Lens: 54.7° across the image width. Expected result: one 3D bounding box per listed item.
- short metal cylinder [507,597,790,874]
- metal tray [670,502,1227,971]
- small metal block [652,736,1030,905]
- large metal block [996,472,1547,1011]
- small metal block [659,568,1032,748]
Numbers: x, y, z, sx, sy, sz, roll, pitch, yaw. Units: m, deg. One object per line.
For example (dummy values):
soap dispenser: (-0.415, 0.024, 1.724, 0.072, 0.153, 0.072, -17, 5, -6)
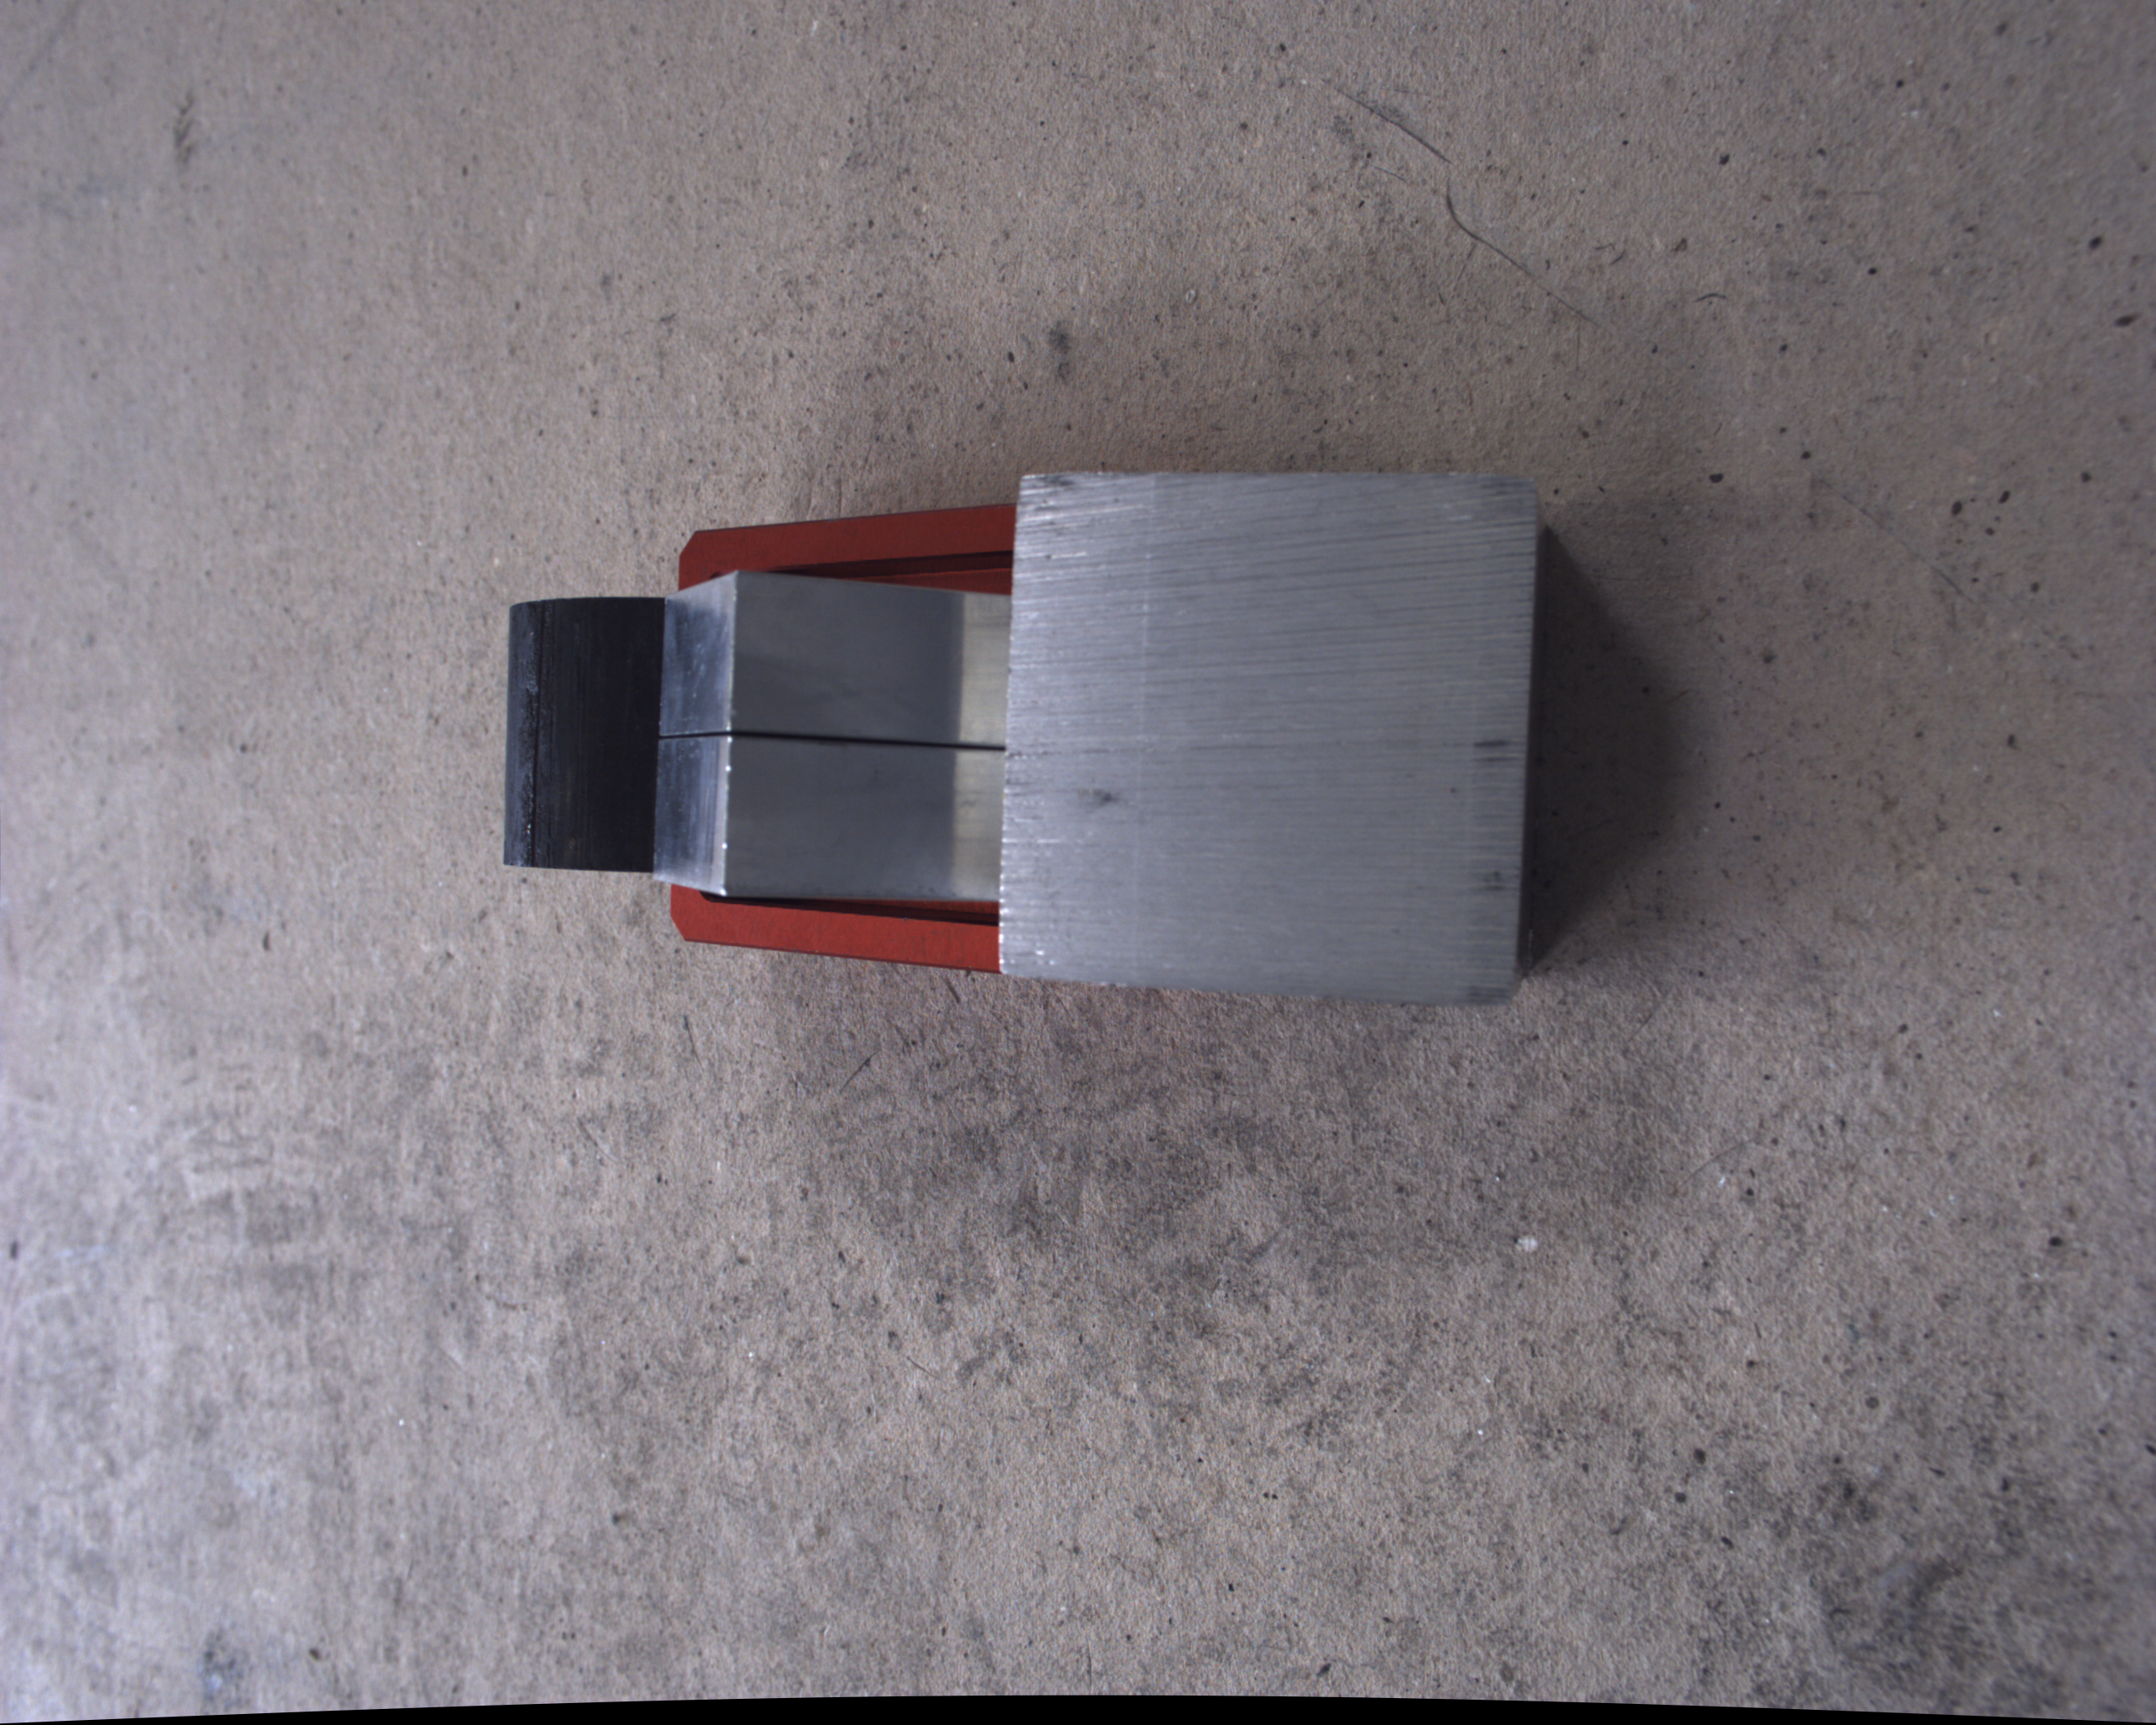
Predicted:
short metal cylinder: (-0.071, -0.023, 0.413, 0.080, 0.081, 0.050, 2, 91, 40)
metal tray: (-0.029, -0.025, 0.427, 0.130, 0.030, 0.089, 3, 92, 40)
small metal block: (-0.041, -0.007, 0.355, 0.050, 0.050, 0.025, -176, 88, -66)
large metal block: (0.034, -0.020, 0.343, 0.080, 0.050, 0.079, 3, 92, 14)
small metal block: (-0.040, -0.033, 0.355, 0.050, 0.050, 0.025, -176, 88, -66)
